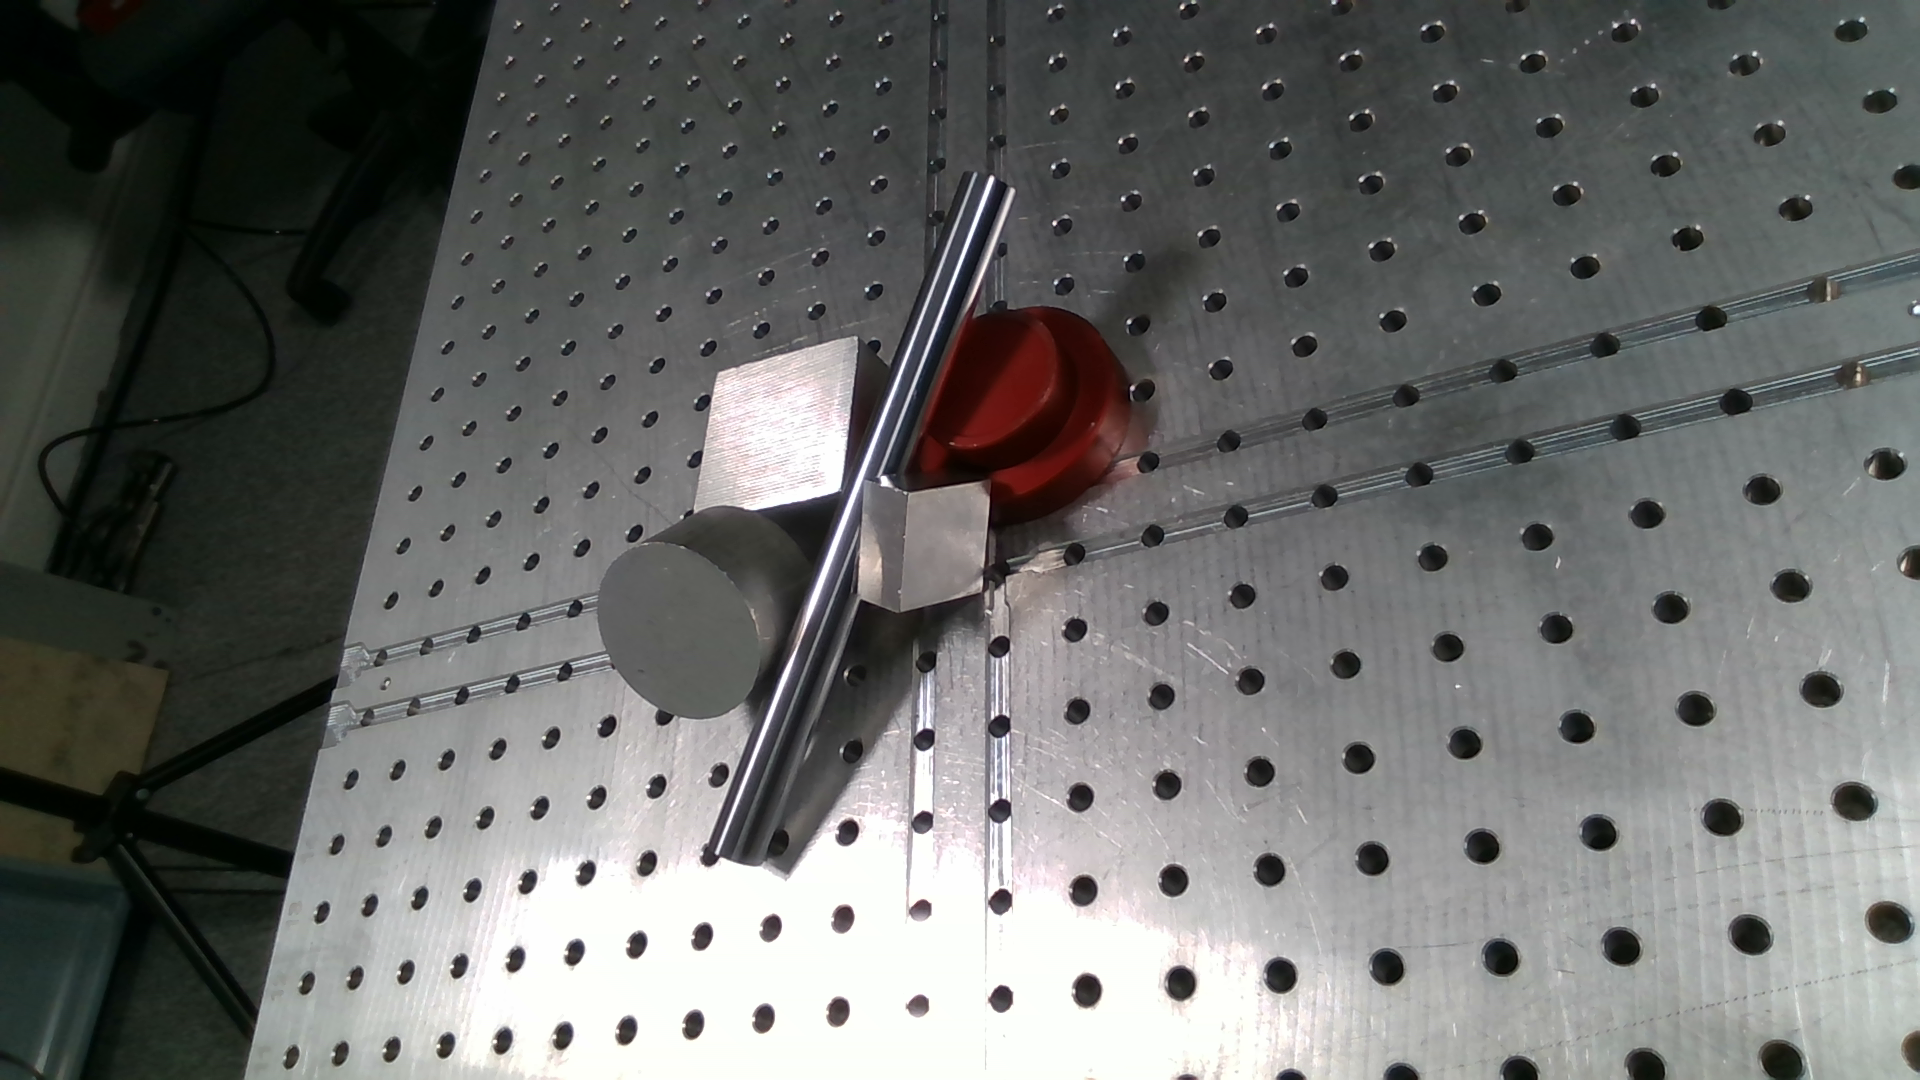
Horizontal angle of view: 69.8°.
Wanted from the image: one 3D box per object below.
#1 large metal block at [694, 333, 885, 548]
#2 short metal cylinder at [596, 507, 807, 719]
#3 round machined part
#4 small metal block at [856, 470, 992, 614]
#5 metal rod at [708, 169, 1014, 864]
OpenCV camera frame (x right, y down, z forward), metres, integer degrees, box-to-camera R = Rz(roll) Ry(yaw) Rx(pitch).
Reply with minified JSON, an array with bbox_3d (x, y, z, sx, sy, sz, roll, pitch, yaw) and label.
[{"bbox_3d":[-0.071,-0.040,0.634,0.080,0.050,0.080,-10,61,27],"label":"large metal block"},{"bbox_3d":[-0.109,0.030,0.596,0.080,0.050,0.080,9,113,21],"label":"short metal cylinder"},{"bbox_3d":[0.021,-0.061,0.597,0.098,0.042,0.098,-14,59,25],"label":"round machined part"},{"bbox_3d":[-0.015,-0.001,0.570,0.025,0.050,0.050,18,110,40],"label":"small metal block"},{"bbox_3d":[-0.041,-0.010,0.577,0.025,0.025,0.300,21,90,37],"label":"metal rod"}]
